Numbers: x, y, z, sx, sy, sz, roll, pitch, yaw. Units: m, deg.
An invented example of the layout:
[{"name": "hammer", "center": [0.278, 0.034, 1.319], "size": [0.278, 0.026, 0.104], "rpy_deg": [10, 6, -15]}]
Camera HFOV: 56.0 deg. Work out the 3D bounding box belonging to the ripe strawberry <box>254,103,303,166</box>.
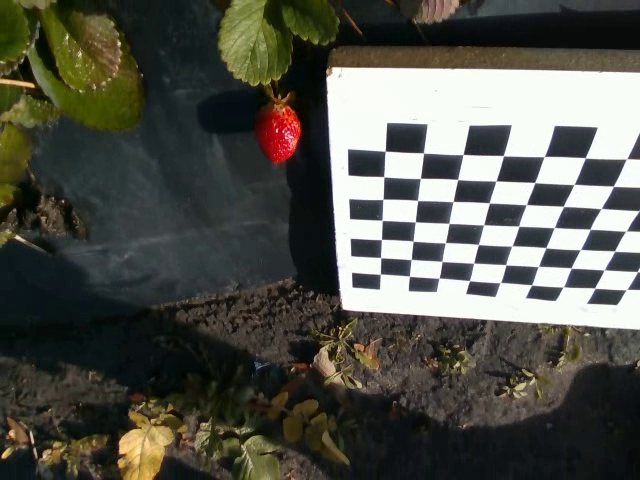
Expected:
[{"name": "ripe strawberry", "center": [-0.023, -0.058, 0.333], "size": [0.034, 0.038, 0.033], "rpy_deg": [3, 2, 8]}]
